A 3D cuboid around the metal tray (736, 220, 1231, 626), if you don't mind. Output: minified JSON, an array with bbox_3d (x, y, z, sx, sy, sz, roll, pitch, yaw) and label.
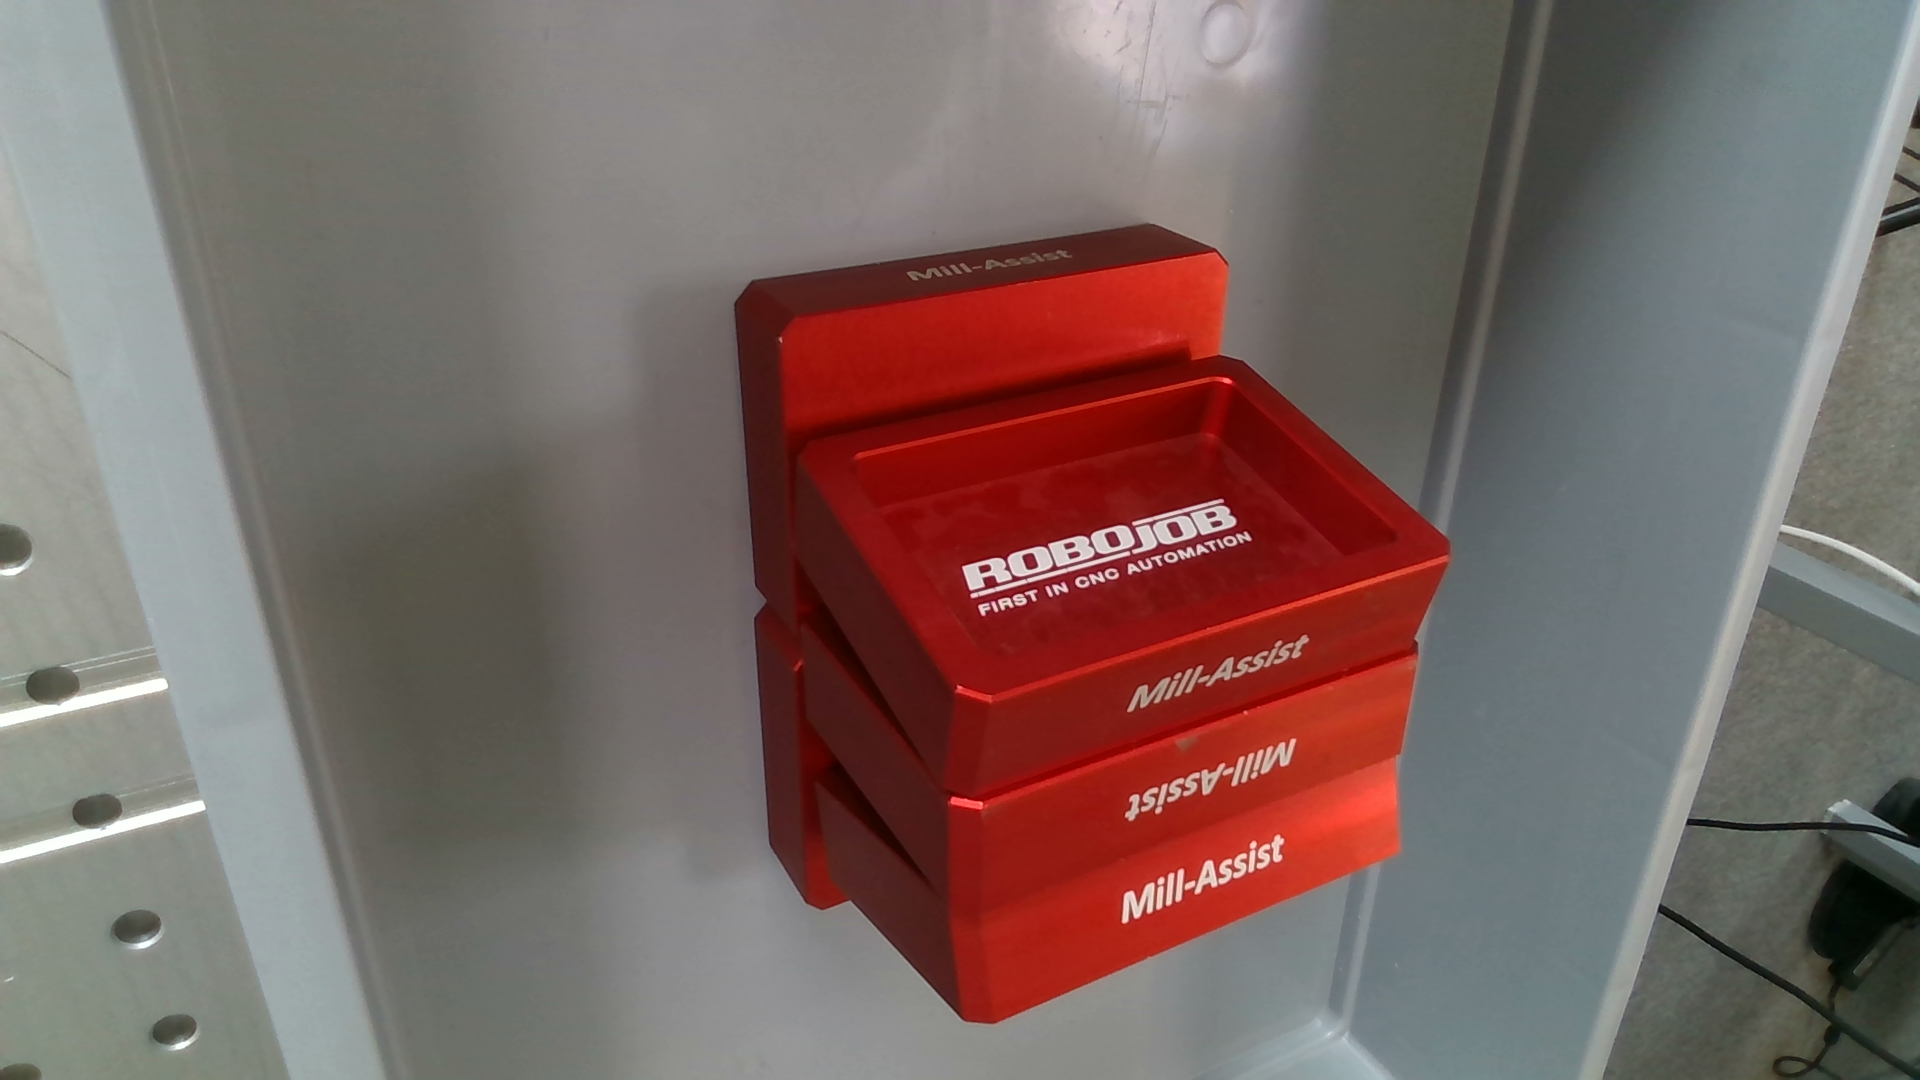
[{"bbox_3d":[0.009,-0.032,0.372,0.130,0.030,0.090,-14,121,-25],"label":"metal tray"}]

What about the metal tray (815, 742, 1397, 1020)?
[{"bbox_3d":[0.038,0.072,0.367,0.130,0.090,0.030,-14,107,-25],"label":"metal tray"}]

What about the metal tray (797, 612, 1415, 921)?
[{"bbox_3d":[0.036,0.036,0.348,0.130,0.090,0.030,-16,122,-27],"label":"metal tray"}]

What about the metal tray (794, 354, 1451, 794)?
[{"bbox_3d":[0.037,0.001,0.327,0.130,0.090,0.030,-14,134,-25],"label":"metal tray"}]

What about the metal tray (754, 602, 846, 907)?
[{"bbox_3d":[0.007,0.048,0.416,0.130,0.030,0.090,-14,121,-25],"label":"metal tray"}]
